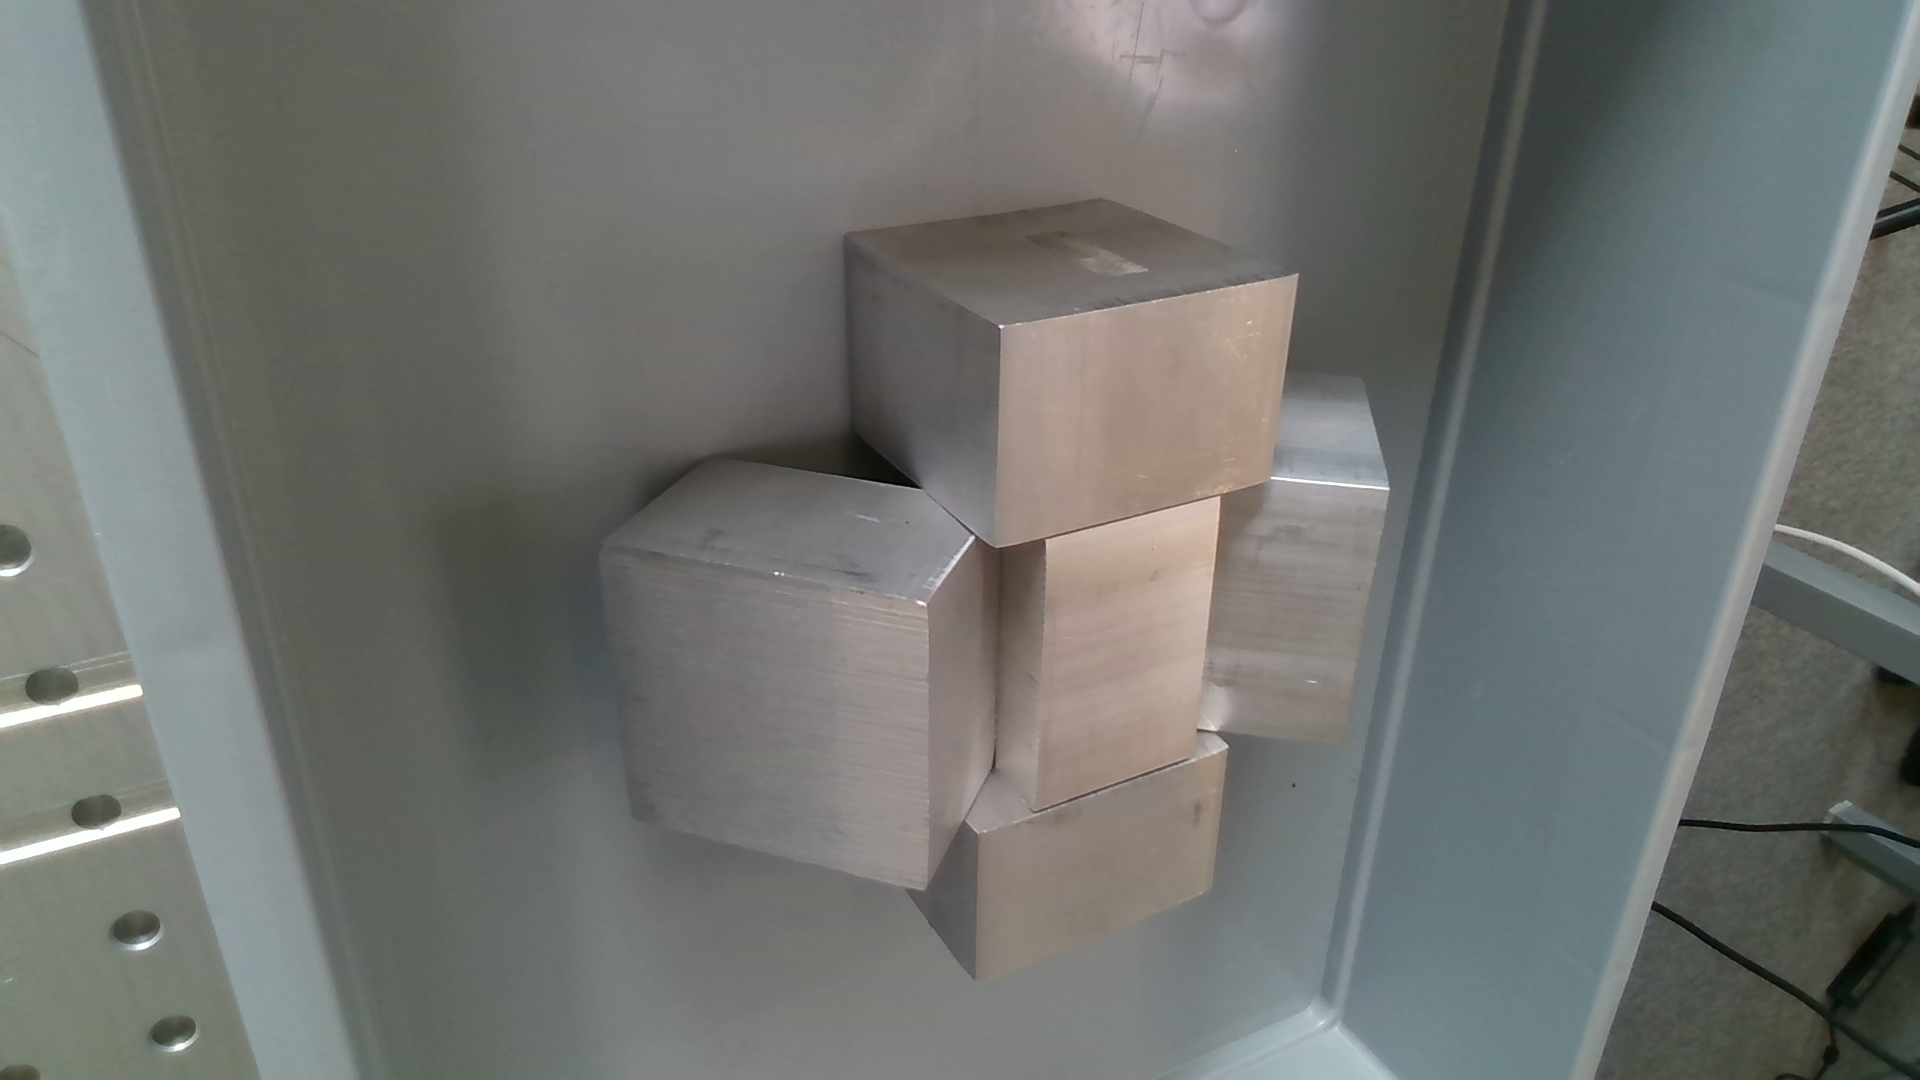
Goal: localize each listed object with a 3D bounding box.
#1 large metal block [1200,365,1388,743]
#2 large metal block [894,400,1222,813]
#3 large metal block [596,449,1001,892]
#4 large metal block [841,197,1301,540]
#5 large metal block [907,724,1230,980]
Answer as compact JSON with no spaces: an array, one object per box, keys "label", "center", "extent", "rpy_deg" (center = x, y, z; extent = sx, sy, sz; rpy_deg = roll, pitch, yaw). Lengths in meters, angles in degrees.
[{"label":"large metal block","center":[0.087,0.000,0.399],"extent":[0.050,0.080,0.080],"rpy_deg":[6,118,7]},{"label":"large metal block","center":[0.022,0.012,0.374],"extent":[0.050,0.080,0.080],"rpy_deg":[-14,121,-25]},{"label":"large metal block","center":[-0.037,0.030,0.339],"extent":[0.050,0.080,0.080],"rpy_deg":[-54,150,-56]},{"label":"large metal block","center":[0.024,-0.047,0.343],"extent":[0.080,0.080,0.050],"rpy_deg":[-14,121,-25]},{"label":"large metal block","center":[0.020,0.070,0.404],"extent":[0.080,0.080,0.050],"rpy_deg":[-14,121,-25]}]
